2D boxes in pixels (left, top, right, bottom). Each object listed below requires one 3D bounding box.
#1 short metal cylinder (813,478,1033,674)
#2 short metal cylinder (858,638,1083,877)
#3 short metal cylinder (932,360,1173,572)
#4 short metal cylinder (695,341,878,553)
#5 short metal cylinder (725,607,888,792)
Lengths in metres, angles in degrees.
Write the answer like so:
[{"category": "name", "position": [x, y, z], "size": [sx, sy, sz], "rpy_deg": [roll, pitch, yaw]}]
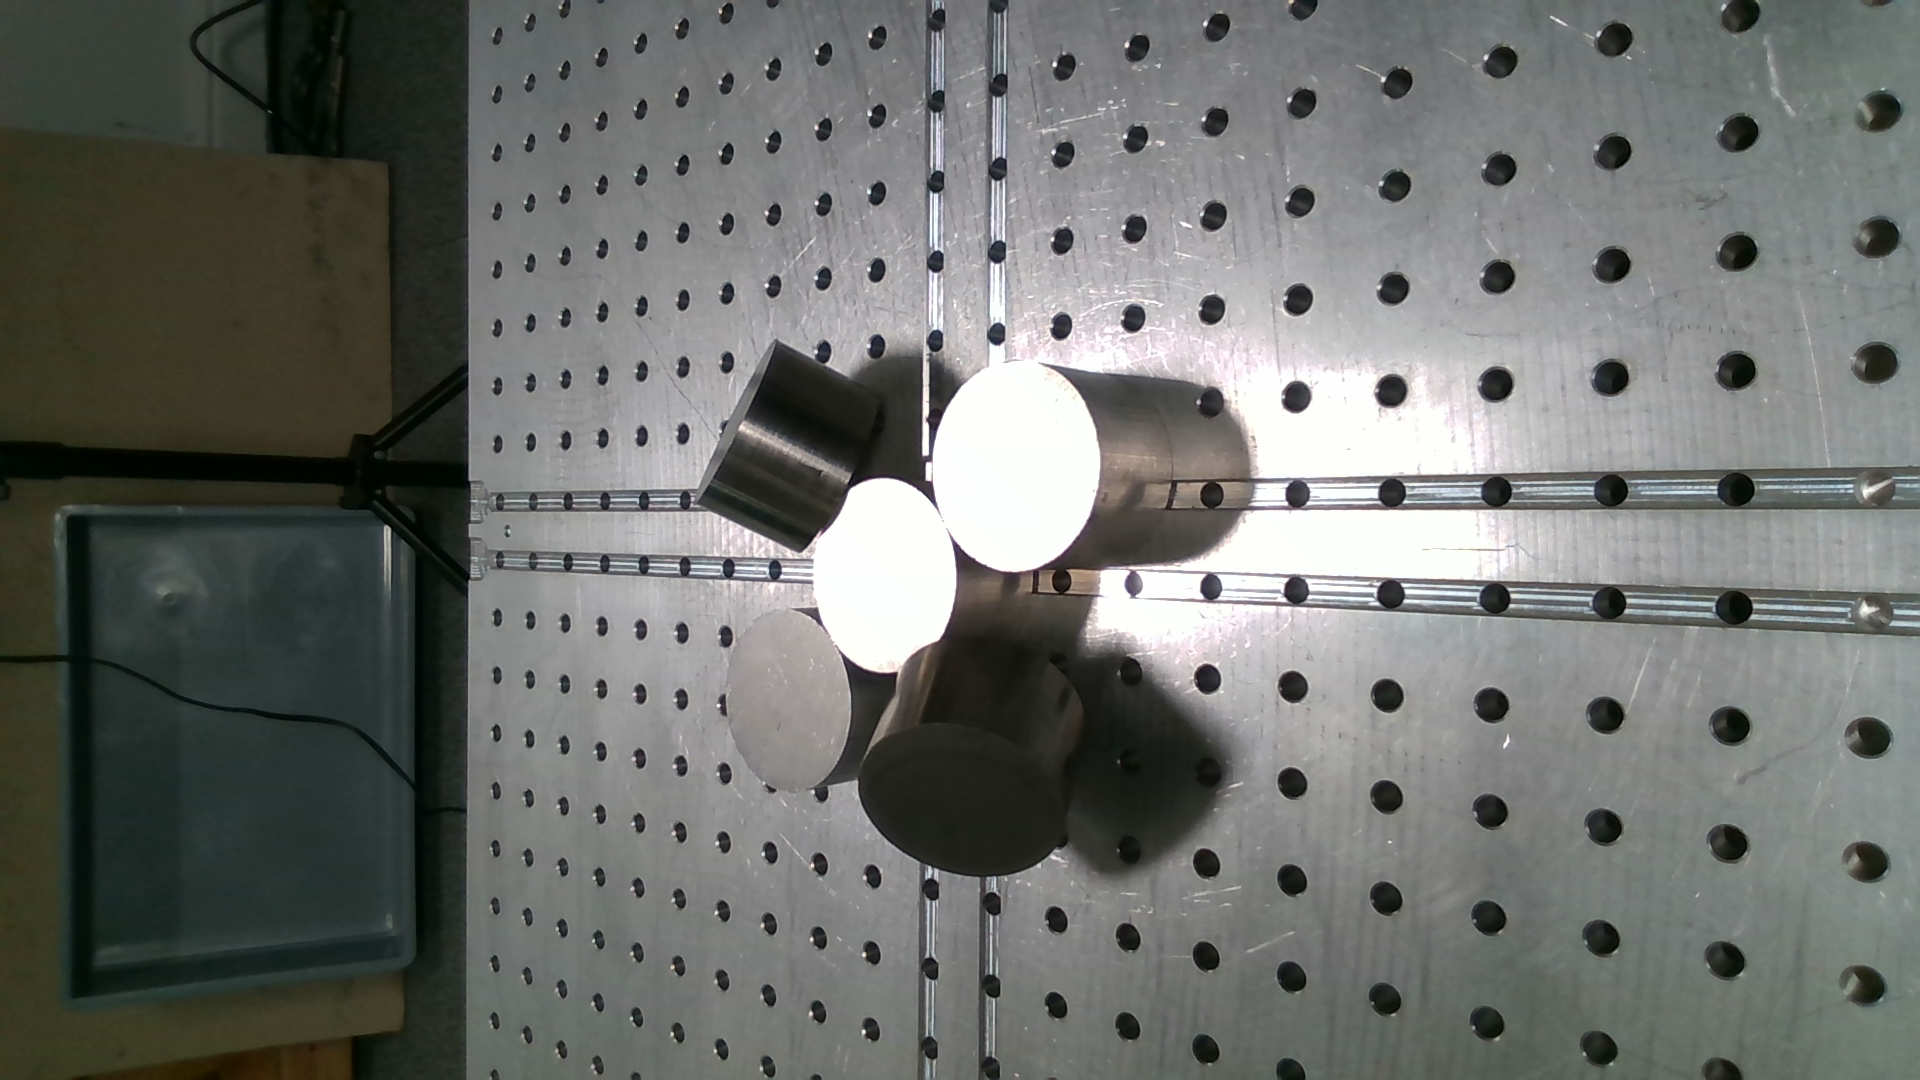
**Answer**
[{"category": "short metal cylinder", "position": [-0.016, 0.015, 0.582], "size": [0.080, 0.050, 0.080], "rpy_deg": [0, 91, 40]}, {"category": "short metal cylinder", "position": [0.006, 0.085, 0.538], "size": [0.080, 0.050, 0.080], "rpy_deg": [8, 127, 10]}, {"category": "short metal cylinder", "position": [0.036, -0.028, 0.538], "size": [0.080, 0.050, 0.080], "rpy_deg": [0, 91, 40]}, {"category": "short metal cylinder", "position": [-0.077, -0.041, 0.606], "size": [0.080, 0.050, 0.080], "rpy_deg": [-57, 16, 26]}, {"category": "short metal cylinder", "position": [-0.060, 0.070, 0.620], "size": [0.080, 0.050, 0.080], "rpy_deg": [0, 91, 40]}]
